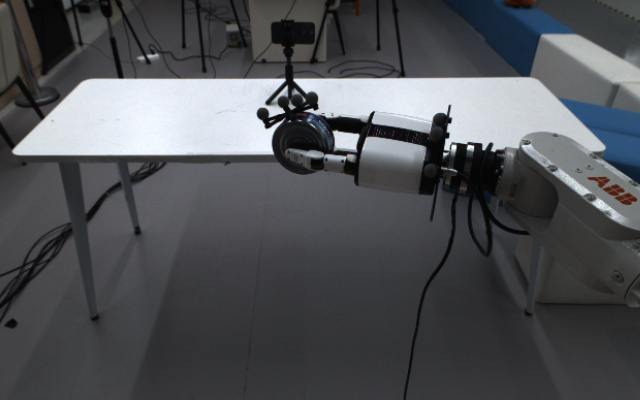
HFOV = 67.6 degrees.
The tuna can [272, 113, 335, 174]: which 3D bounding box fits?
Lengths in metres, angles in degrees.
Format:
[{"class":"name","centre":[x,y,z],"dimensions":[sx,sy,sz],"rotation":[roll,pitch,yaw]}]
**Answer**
[{"class":"tuna can","centre":[-0.021,-0.074,0.688],"dimensions":[0.085,0.085,0.034],"rotation":[11,34,13]}]
